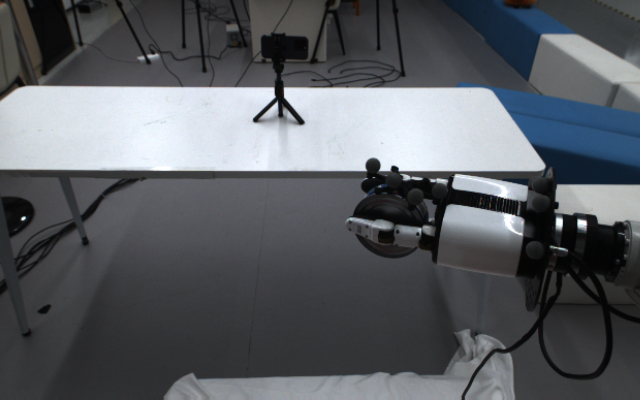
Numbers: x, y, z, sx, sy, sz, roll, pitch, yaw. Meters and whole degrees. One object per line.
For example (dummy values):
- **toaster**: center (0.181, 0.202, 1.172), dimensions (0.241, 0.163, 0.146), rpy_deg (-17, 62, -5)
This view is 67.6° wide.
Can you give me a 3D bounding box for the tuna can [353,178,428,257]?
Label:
- **tuna can**: center (0.087, 0.022, 0.575), dimensions (0.085, 0.085, 0.034), rpy_deg (15, 29, 18)
